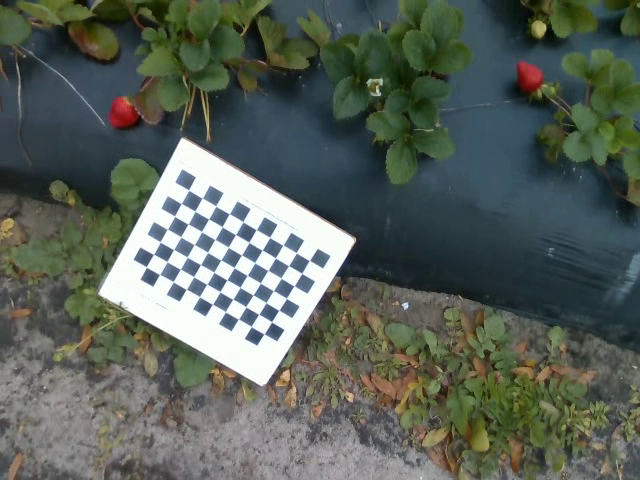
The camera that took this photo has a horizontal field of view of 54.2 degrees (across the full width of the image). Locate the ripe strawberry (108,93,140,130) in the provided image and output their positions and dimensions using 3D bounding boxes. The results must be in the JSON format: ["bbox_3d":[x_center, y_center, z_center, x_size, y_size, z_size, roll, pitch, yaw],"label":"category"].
[{"bbox_3d":[-0.187,-0.121,0.592,0.033,0.028,0.022,-43,2,6],"label":"ripe strawberry"}]
